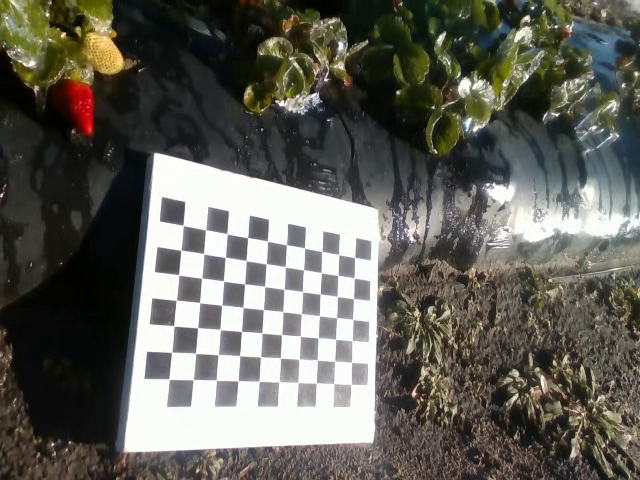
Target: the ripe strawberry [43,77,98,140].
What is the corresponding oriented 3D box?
[{"bbox_3d":[-0.208,-0.118,0.553,0.041,0.052,0.040,-10,-10,-40],"label":"ripe strawberry"}]
